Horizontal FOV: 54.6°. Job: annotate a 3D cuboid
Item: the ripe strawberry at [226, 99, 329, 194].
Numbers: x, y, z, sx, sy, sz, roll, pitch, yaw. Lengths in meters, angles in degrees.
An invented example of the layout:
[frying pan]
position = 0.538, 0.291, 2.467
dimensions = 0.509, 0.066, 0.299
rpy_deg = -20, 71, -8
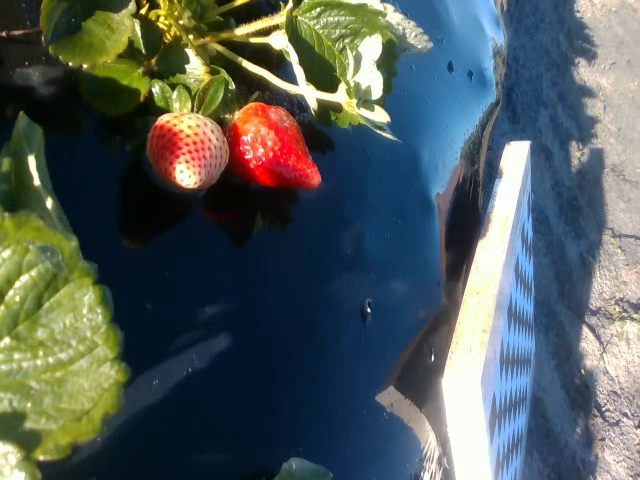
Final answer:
[ripe strawberry]
position = -0.013, -0.036, 0.254
dimensions = 0.055, 0.040, 0.038
rpy_deg = 30, -22, 35
